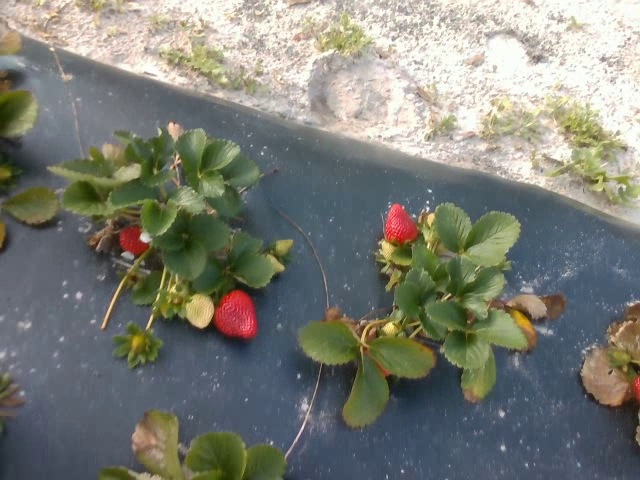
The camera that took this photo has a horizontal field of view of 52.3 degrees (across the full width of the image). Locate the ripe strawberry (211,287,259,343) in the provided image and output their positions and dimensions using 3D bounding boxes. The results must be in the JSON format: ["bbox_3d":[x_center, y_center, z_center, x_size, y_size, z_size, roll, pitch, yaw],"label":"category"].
[{"bbox_3d":[-0.086,0.085,0.665,0.048,0.051,0.055,33,11,-44],"label":"ripe strawberry"}]
